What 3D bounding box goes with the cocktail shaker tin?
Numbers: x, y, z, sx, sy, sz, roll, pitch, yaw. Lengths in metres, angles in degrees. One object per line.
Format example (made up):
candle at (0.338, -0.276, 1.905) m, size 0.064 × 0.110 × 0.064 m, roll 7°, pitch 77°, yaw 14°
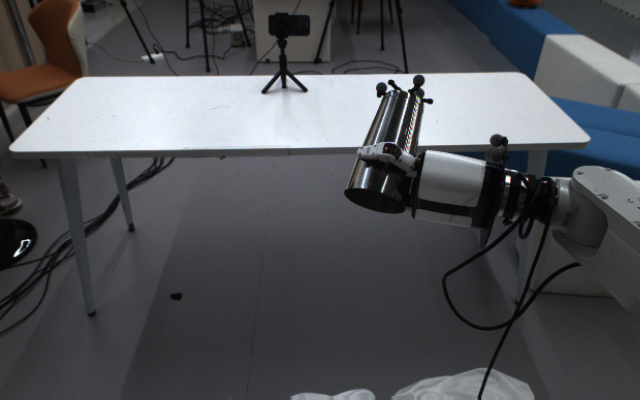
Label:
cocktail shaker tin at (0.103, -0.075, 0.725) m, size 0.093 × 0.093 × 0.170 m, roll 13°, pitch 72°, yaw 16°
